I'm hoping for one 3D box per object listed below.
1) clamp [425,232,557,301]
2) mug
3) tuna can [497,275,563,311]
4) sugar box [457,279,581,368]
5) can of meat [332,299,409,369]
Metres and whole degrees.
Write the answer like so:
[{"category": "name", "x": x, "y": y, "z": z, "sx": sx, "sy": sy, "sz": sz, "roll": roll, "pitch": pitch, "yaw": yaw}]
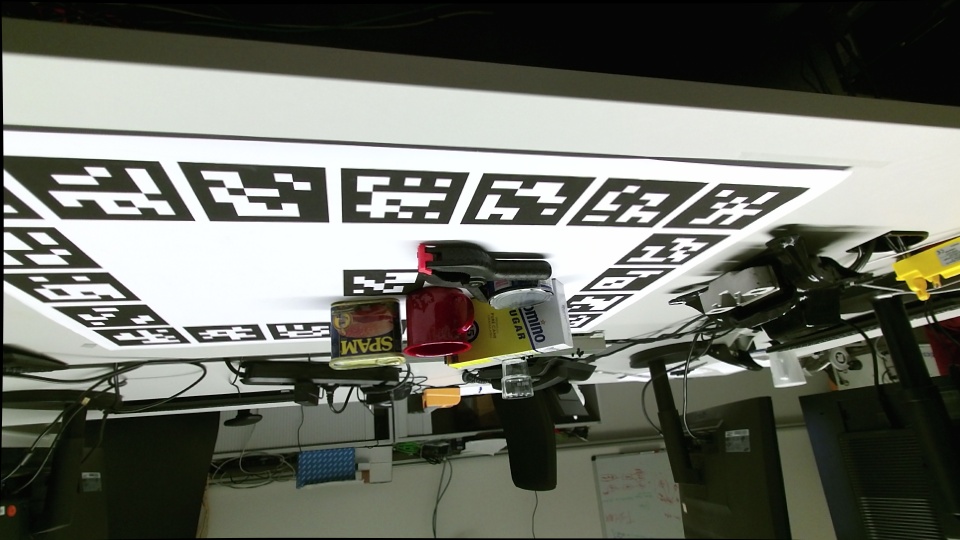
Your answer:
[{"category": "clamp", "x": 0.002, "y": -0.004, "z": 0.621, "sx": 0.122, "sy": 0.036, "sz": 0.166, "roll": -19, "pitch": 151, "yaw": 38}, {"category": "mug", "x": -0.041, "y": 0.075, "z": 0.718, "sx": 0.094, "sy": 0.081, "sz": 0.117, "roll": 12, "pitch": 150, "yaw": -37}, {"category": "tuna can", "x": 0.065, "y": 0.022, "z": 0.687, "sx": 0.086, "sy": 0.033, "sz": 0.086, "roll": -6, "pitch": 156, "yaw": -3}, {"category": "sugar box", "x": 0.045, "y": 0.077, "z": 0.756, "sx": 0.177, "sy": 0.092, "sz": 0.045, "roll": -14, "pitch": 158, "yaw": 22}, {"category": "can of meat", "x": -0.151, "y": 0.088, "z": 0.742, "sx": 0.102, "sy": 0.083, "sz": 0.058, "roll": -3, "pitch": 159, "yaw": -6}]
